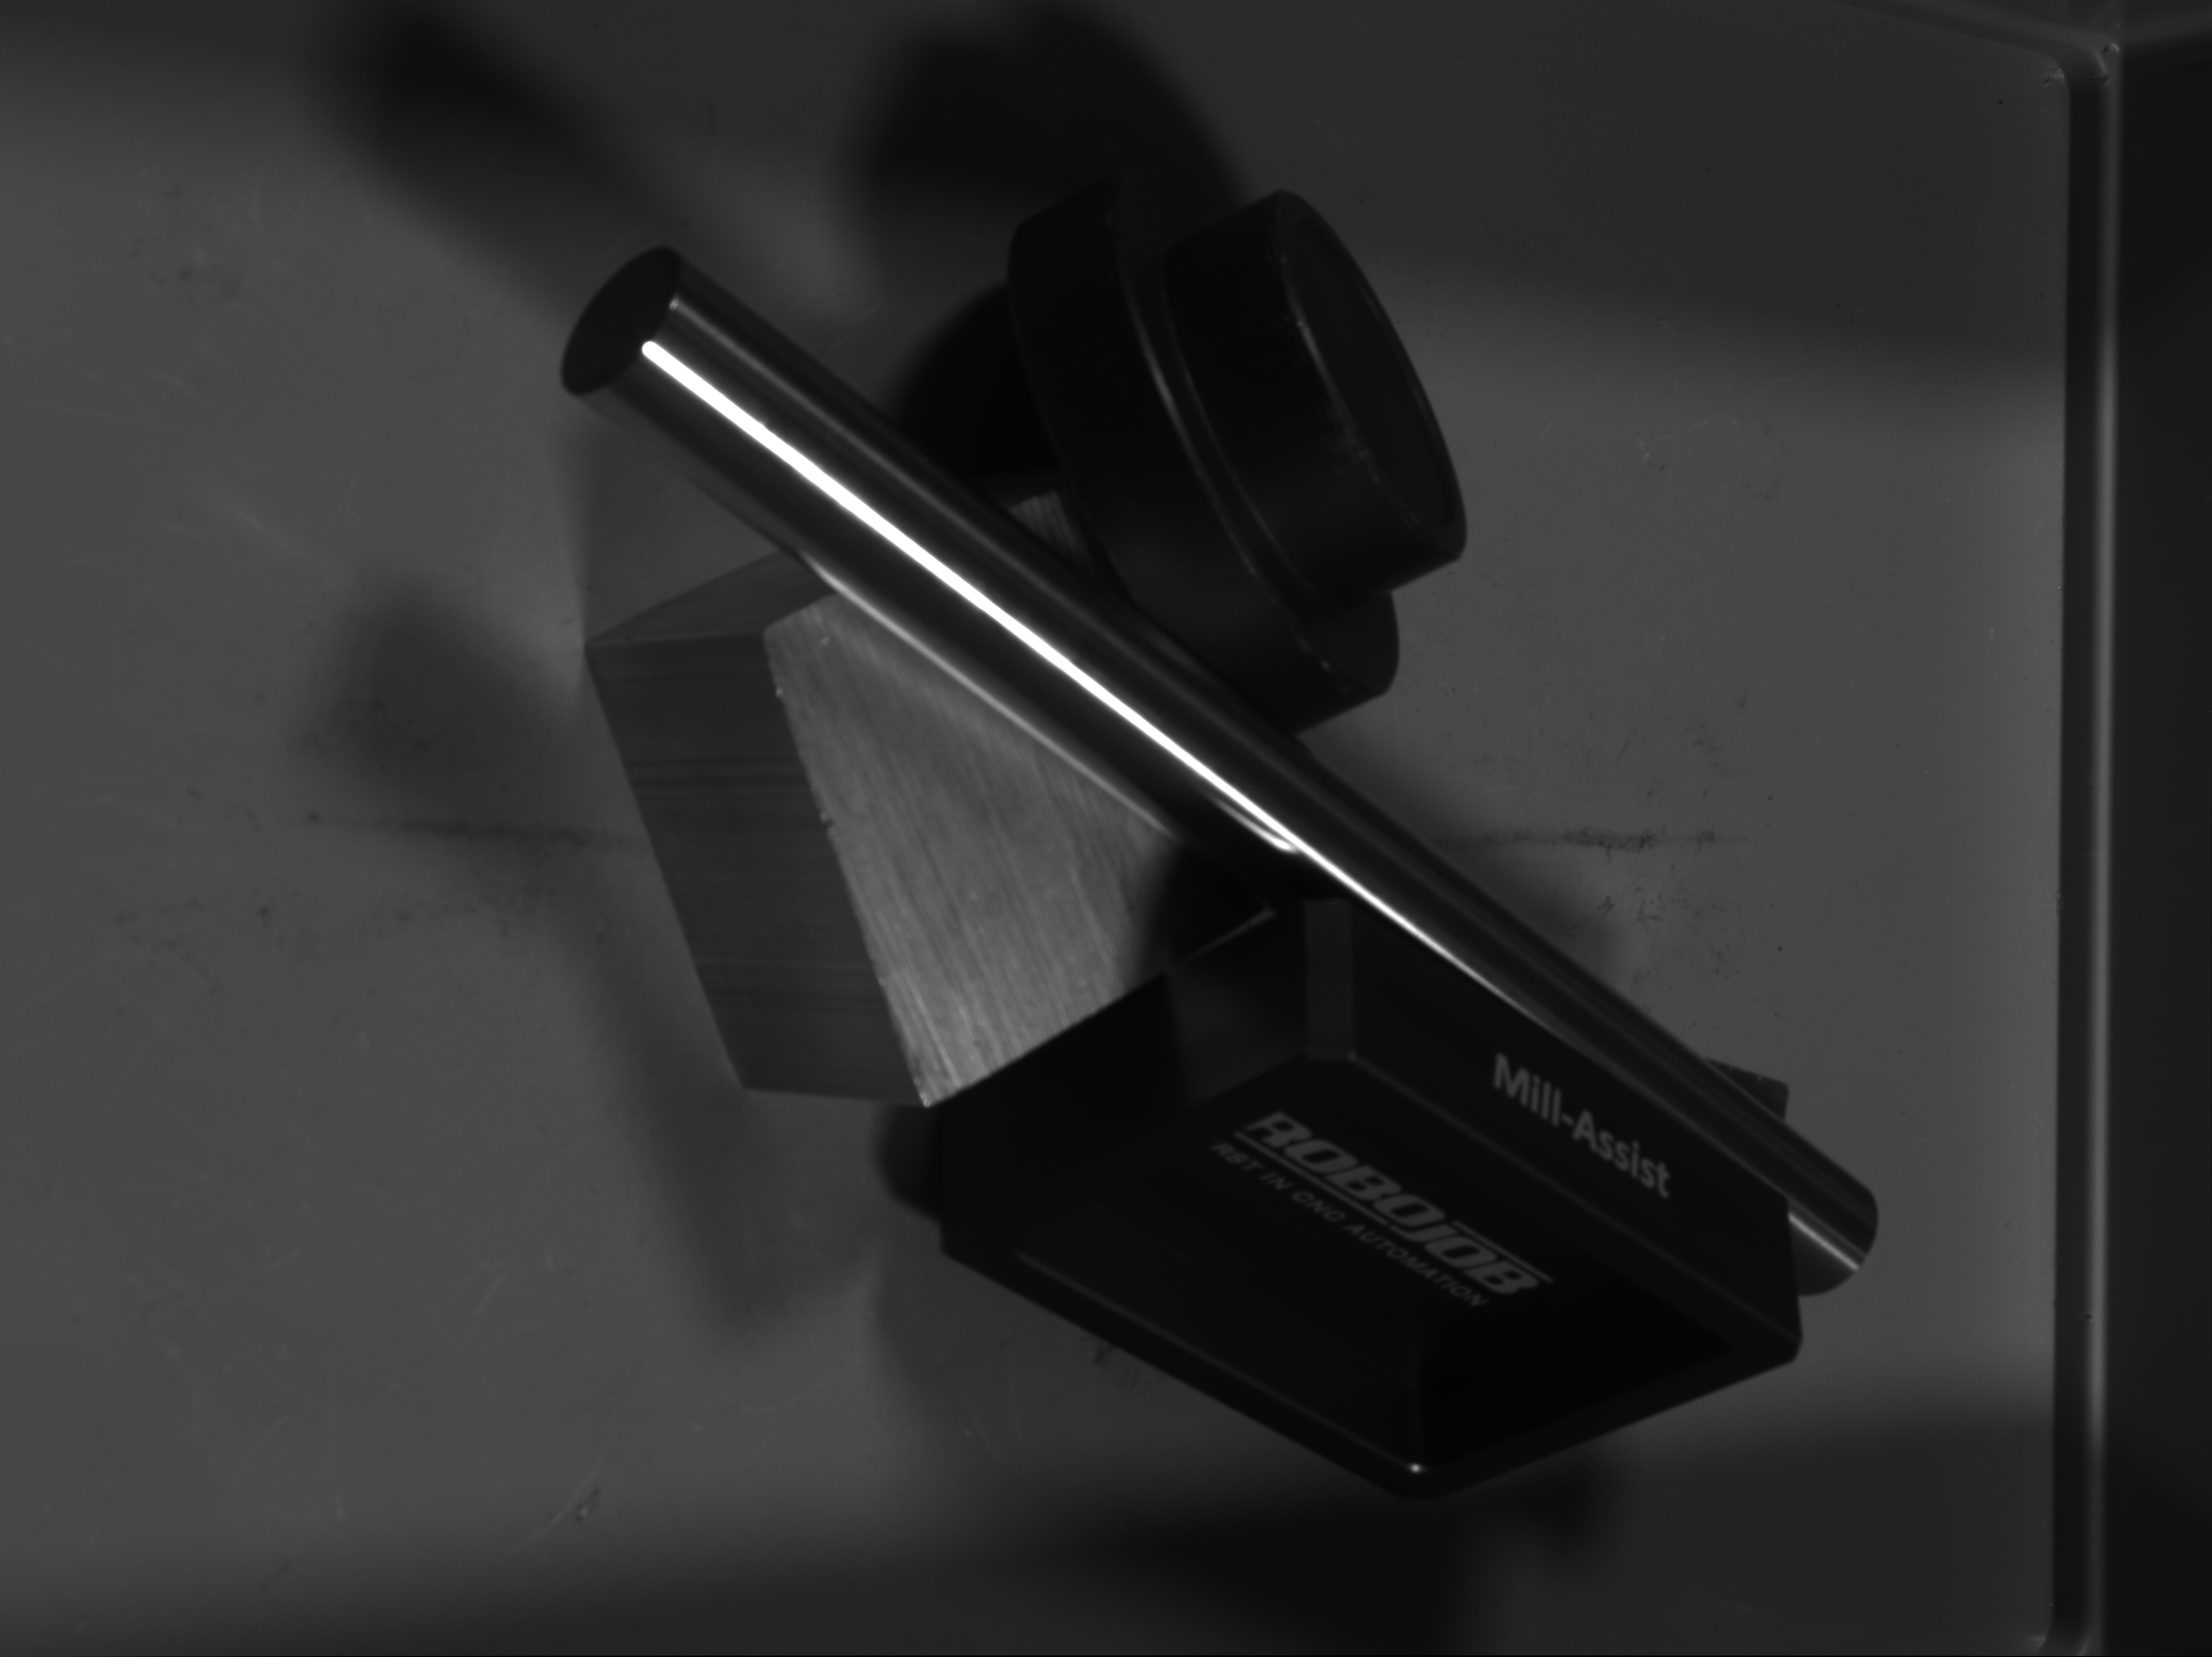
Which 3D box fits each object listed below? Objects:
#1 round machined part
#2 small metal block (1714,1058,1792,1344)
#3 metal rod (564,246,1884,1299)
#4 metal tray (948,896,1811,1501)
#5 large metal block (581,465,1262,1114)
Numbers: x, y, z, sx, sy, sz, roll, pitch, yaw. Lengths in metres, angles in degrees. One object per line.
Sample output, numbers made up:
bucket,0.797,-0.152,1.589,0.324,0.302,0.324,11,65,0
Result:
round machined part,0.027,-0.067,0.614,0.098,0.042,0.098,54,20,-30
small metal block,0.100,0.069,0.703,0.025,0.050,0.050,19,78,-38
metal rod,0.033,0.002,0.597,0.301,0.025,0.025,36,68,-34
metal tray,0.048,0.068,0.629,0.130,0.090,0.030,33,42,-35
large metal block,-0.027,-0.008,0.597,0.080,0.050,0.080,-28,108,-36
